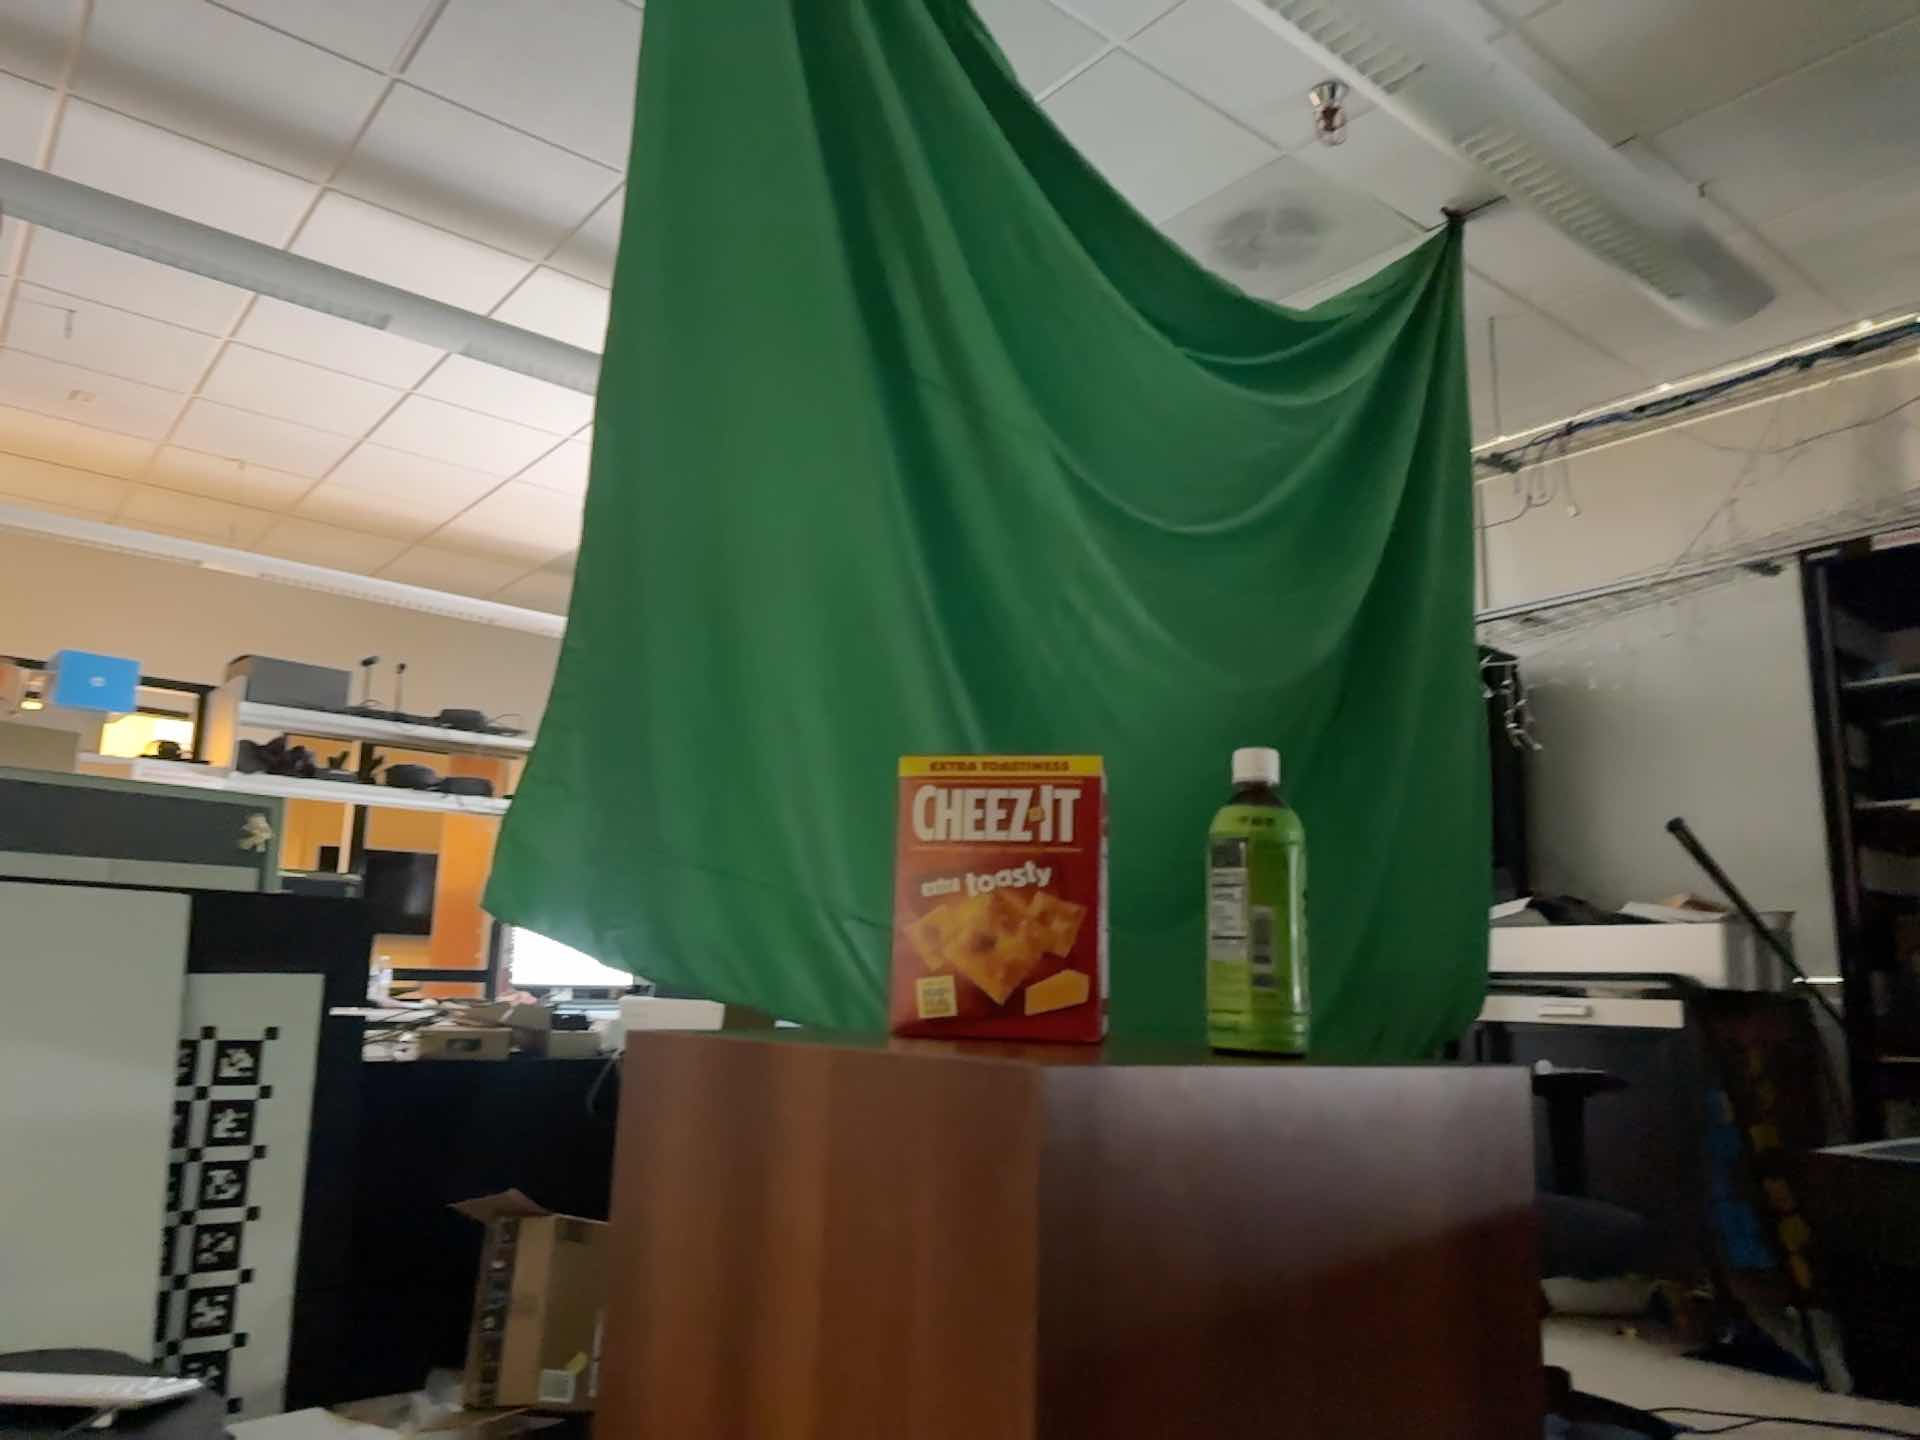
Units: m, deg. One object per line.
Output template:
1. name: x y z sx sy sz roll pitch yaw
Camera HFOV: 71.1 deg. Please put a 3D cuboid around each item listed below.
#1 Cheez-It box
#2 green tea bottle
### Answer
1. Cheez-It box: 0.028 0.131 1.040 0.159 0.214 0.062 0 -8 9
2. green tea bottle: 0.203 0.122 0.922 0.073 0.212 0.073 3 -8 0
